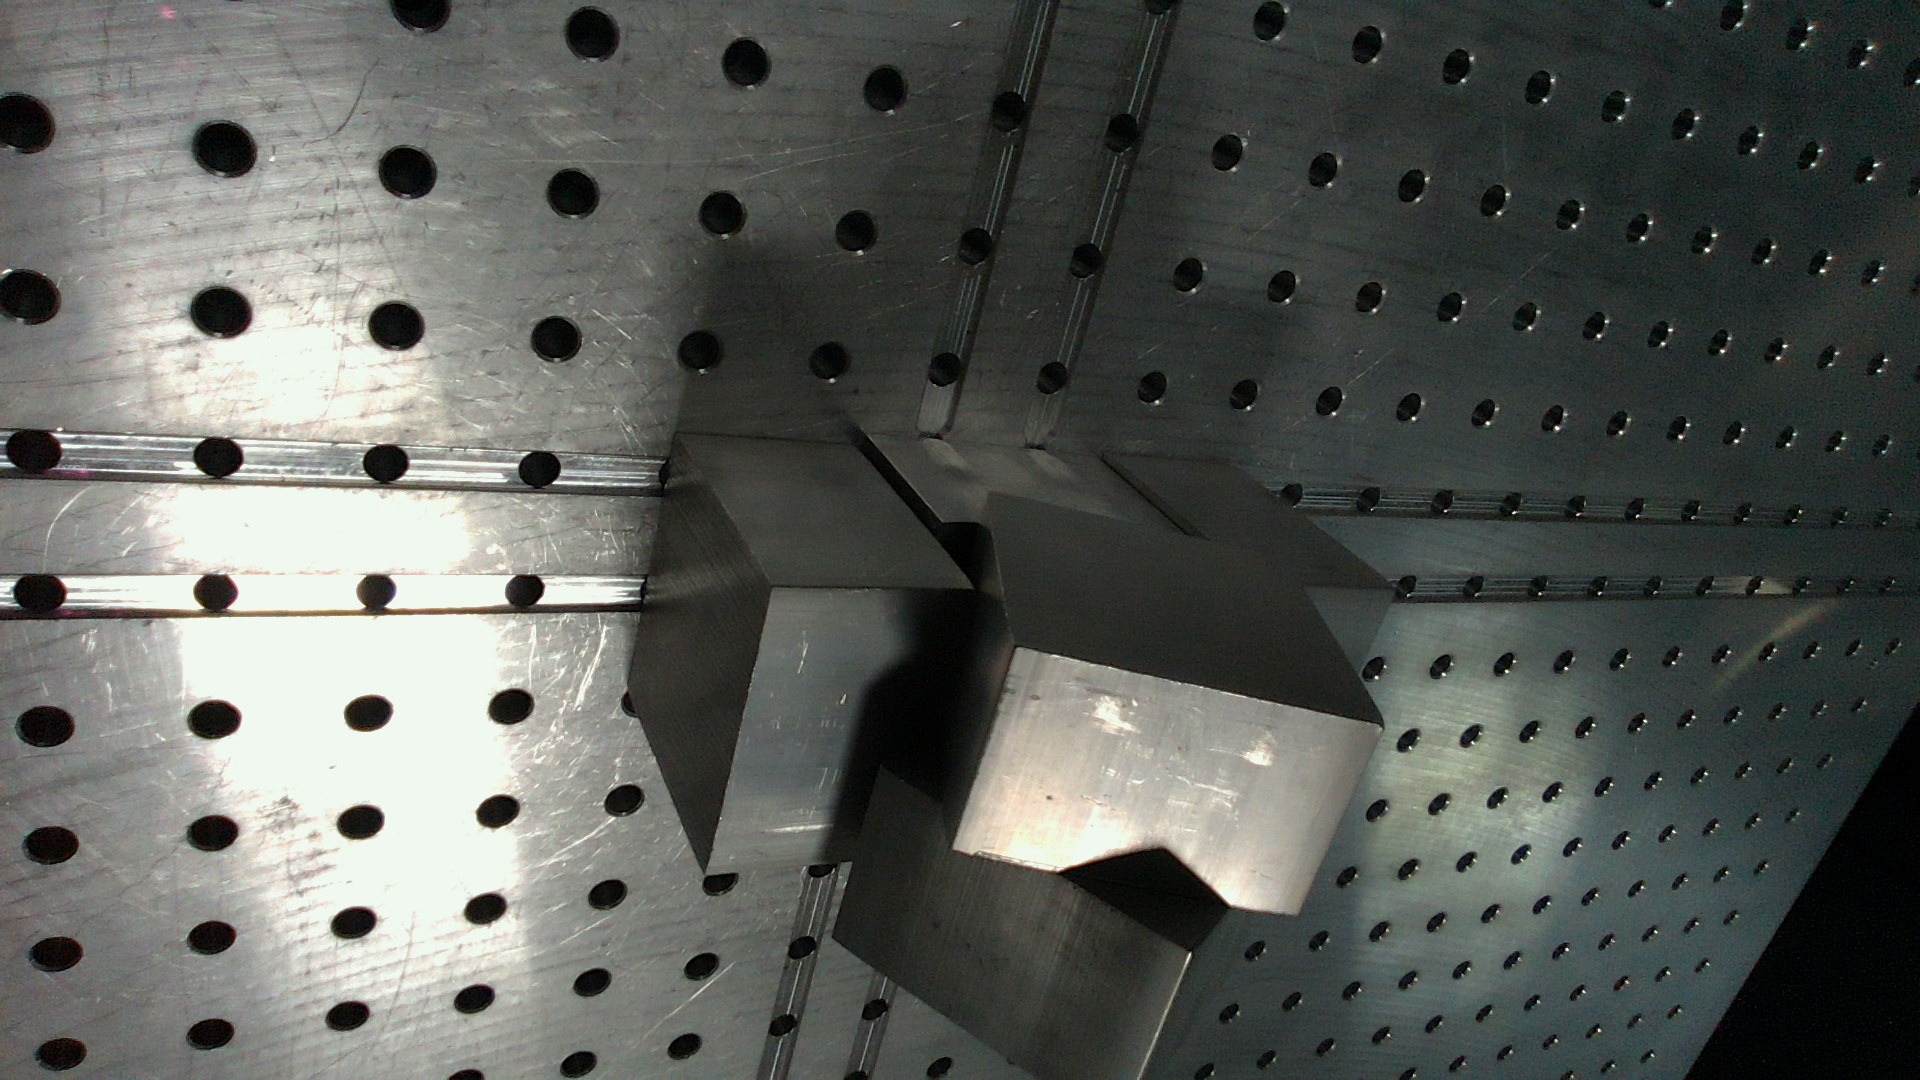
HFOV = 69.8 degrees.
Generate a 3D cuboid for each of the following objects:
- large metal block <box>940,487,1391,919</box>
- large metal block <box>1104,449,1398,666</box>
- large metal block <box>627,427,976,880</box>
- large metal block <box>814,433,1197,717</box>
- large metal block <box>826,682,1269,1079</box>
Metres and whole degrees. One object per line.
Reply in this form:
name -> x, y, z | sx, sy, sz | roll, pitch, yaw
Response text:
large metal block -> 0.040, 0.034, 0.317 | 0.080, 0.080, 0.050 | 13, 113, -9
large metal block -> 0.071, 0.028, 0.412 | 0.050, 0.080, 0.080 | 4, 117, -30
large metal block -> -0.045, 0.026, 0.349 | 0.050, 0.080, 0.080 | 2, 118, -29
large metal block -> 0.009, 0.020, 0.390 | 0.080, 0.050, 0.080 | 3, 117, -30
large metal block -> 0.028, 0.080, 0.335 | 0.080, 0.080, 0.050 | -24, 136, -57
